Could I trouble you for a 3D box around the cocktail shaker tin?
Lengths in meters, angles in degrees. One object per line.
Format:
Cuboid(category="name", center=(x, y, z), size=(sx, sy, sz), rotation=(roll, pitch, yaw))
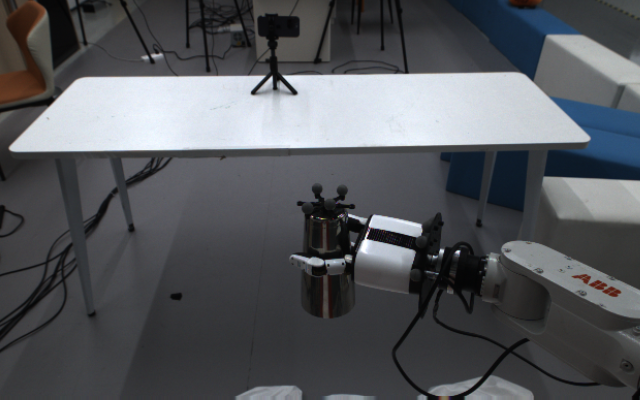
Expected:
Cuboid(category="cocktail shaker tin", center=(0.013, 0.090, 0.772), size=(0.093, 0.170, 0.093), rotation=(-1, 26, 1))
